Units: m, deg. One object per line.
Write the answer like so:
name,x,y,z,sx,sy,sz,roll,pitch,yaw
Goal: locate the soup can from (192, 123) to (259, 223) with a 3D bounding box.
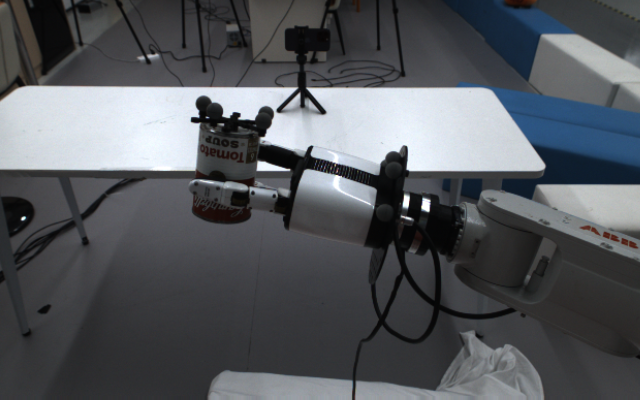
soup can,-0.103,-0.033,0.540,0.067,0.101,0.067,9,20,-3
